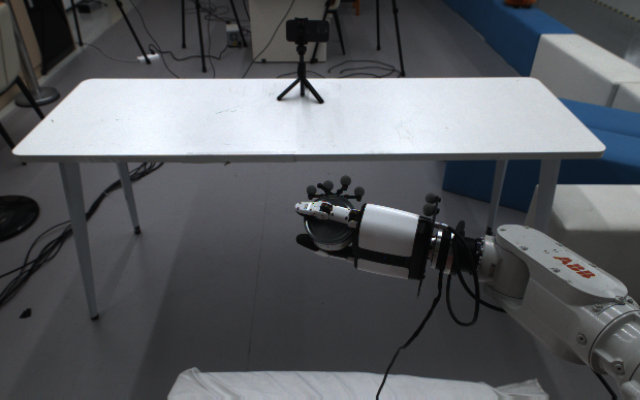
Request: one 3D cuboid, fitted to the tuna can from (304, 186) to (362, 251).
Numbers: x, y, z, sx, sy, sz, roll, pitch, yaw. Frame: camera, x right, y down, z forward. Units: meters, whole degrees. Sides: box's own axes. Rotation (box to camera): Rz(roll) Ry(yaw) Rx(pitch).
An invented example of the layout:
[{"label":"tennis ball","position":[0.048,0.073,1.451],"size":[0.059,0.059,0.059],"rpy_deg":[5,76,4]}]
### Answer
[{"label":"tuna can","position":[0.019,0.037,0.772],"size":[0.085,0.034,0.085],"rpy_deg":[-4,61,6]}]
